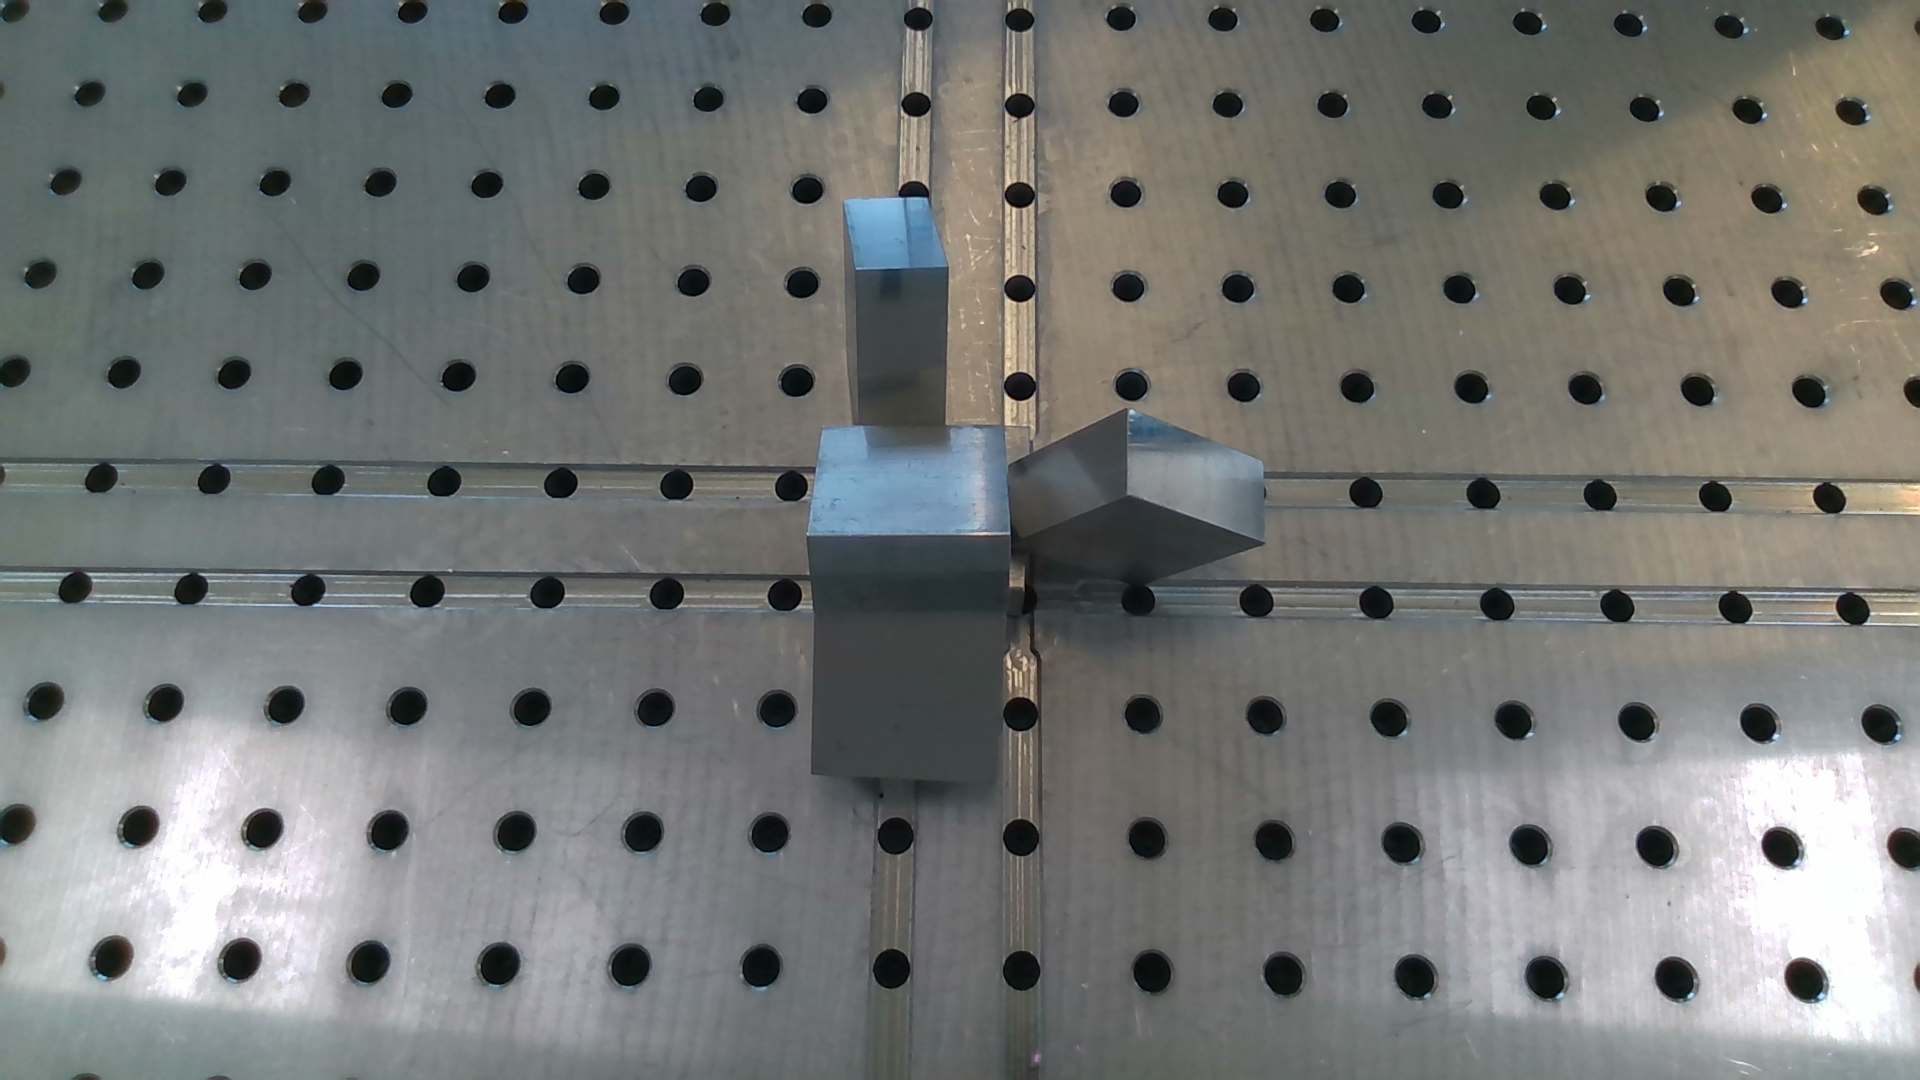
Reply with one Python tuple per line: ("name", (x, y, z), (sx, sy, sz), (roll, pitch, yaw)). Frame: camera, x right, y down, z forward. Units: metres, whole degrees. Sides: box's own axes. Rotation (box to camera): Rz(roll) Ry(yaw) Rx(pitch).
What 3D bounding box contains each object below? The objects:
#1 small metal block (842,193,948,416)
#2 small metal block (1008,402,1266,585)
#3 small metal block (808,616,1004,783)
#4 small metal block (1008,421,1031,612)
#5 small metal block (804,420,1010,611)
("small metal block", (-0.020, -0.067, 0.398), (0.025, 0.050, 0.050), (-3, 35, -7))
("small metal block", (0.048, -0.011, 0.378), (0.050, 0.050, 0.025), (17, 66, -32))
("small metal block", (-0.014, 0.037, 0.373), (0.050, 0.025, 0.050), (2, 101, 1))
("small metal block", (-0.006, -0.007, 0.401), (0.050, 0.025, 0.050), (2, 70, 1))
("small metal block", (-0.013, -0.007, 0.362), (0.050, 0.025, 0.050), (0, 37, 0))
